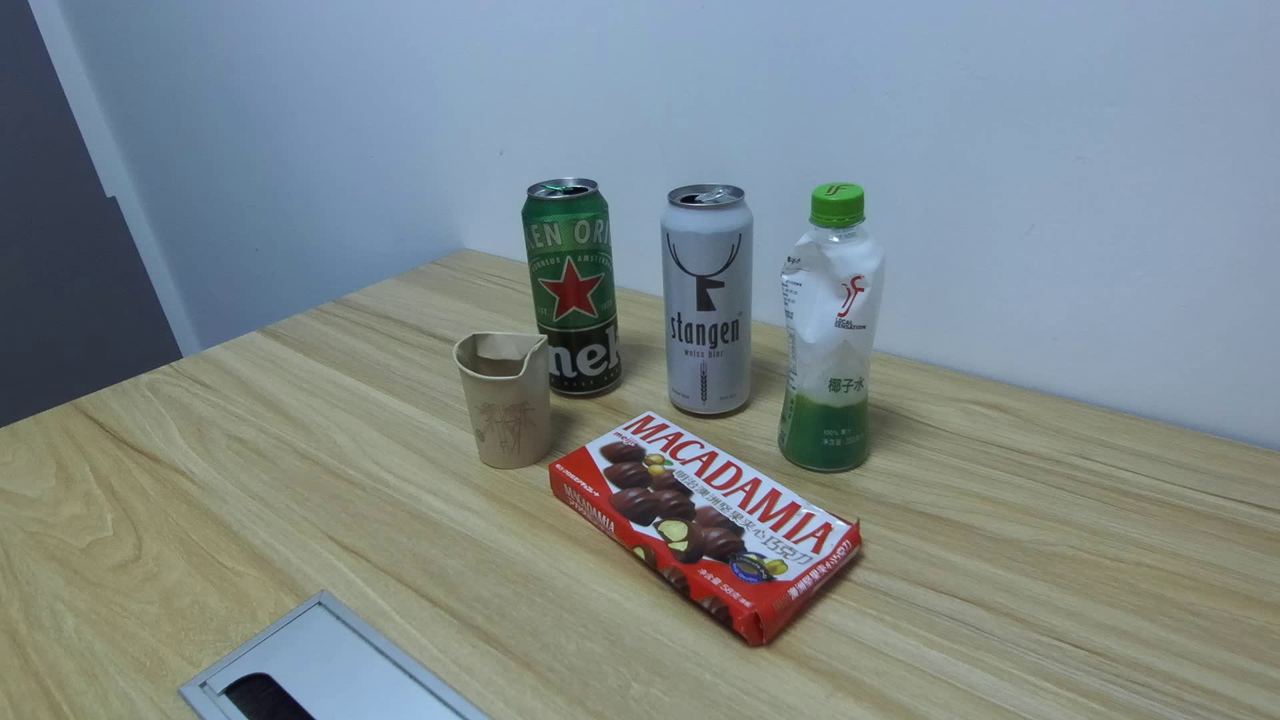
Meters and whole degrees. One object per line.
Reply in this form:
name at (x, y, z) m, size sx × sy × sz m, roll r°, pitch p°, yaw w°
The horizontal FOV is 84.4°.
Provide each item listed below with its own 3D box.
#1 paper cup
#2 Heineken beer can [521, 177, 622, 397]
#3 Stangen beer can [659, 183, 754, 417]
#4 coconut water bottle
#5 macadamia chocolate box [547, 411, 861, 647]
paper cup at (-0.098, 0.030, 0.509) m, size 0.066 × 0.084 × 0.071 m, roll 5°, pitch 29°, yaw 15°
Heineken beer can at (-0.053, -0.055, 0.573) m, size 0.067 × 0.169 × 0.067 m, roll -3°, pitch 26°, yaw 2°
Stangen beer can at (0.051, -0.042, 0.533) m, size 0.067 × 0.171 × 0.067 m, roll -2°, pitch 28°, yaw 2°
coconut water bottle at (0.126, -0.019, 0.460) m, size 0.069 × 0.187 × 0.069 m, roll -2°, pitch 29°, yaw 2°
macadamia chocolate box at (0.034, 0.093, 0.439) m, size 0.106 × 0.028 × 0.182 m, roll -26°, pitch 37°, yaw -36°
